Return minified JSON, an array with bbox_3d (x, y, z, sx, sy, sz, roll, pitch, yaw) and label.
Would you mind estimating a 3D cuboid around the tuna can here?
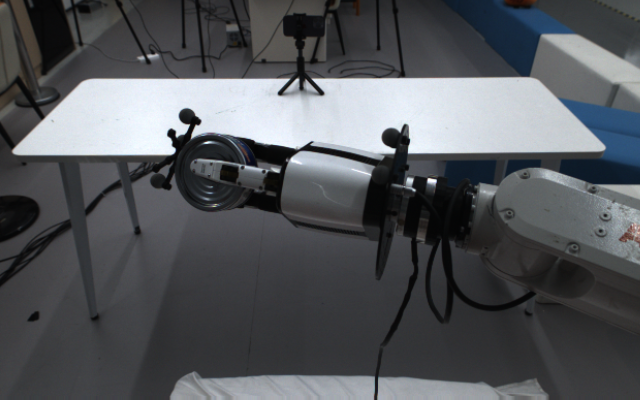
[{"bbox_3d":[-0.109,-0.027,0.527,0.085,0.085,0.034,8,5,9],"label":"tuna can"}]
